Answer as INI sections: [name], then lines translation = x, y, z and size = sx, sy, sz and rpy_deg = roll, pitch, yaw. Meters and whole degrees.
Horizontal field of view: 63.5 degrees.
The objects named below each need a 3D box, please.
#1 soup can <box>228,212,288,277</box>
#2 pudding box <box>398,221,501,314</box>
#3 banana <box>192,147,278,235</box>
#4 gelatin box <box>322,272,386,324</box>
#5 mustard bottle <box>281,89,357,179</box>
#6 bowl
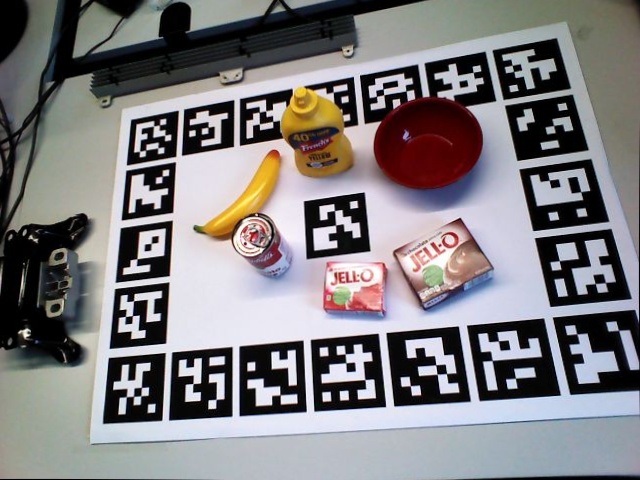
[soup can]
translation = -0.092, 0.009, 0.774
size = 0.068, 0.102, 0.067
rpy_deg = -5, 66, 10
[pudding box]
translation = 0.181, 0.040, 0.737
size = 0.114, 0.038, 0.090
rpy_deg = -29, 70, 2
[banana]
translation = -0.128, -0.075, 0.861
size = 0.074, 0.039, 0.197
rpy_deg = 34, 80, 33
[gelatin box]
translation = 0.050, 0.084, 0.758
size = 0.090, 0.030, 0.073
rpy_deg = -1, 72, 15
[mustard bottle]
translation = -0.005, -0.162, 0.768
size = 0.096, 0.191, 0.058
rpy_deg = -7, 65, 11
[bowl]
translation = 0.180, -0.137, 0.801
size = 0.162, 0.055, 0.161
rpy_deg = -6, 67, 14
